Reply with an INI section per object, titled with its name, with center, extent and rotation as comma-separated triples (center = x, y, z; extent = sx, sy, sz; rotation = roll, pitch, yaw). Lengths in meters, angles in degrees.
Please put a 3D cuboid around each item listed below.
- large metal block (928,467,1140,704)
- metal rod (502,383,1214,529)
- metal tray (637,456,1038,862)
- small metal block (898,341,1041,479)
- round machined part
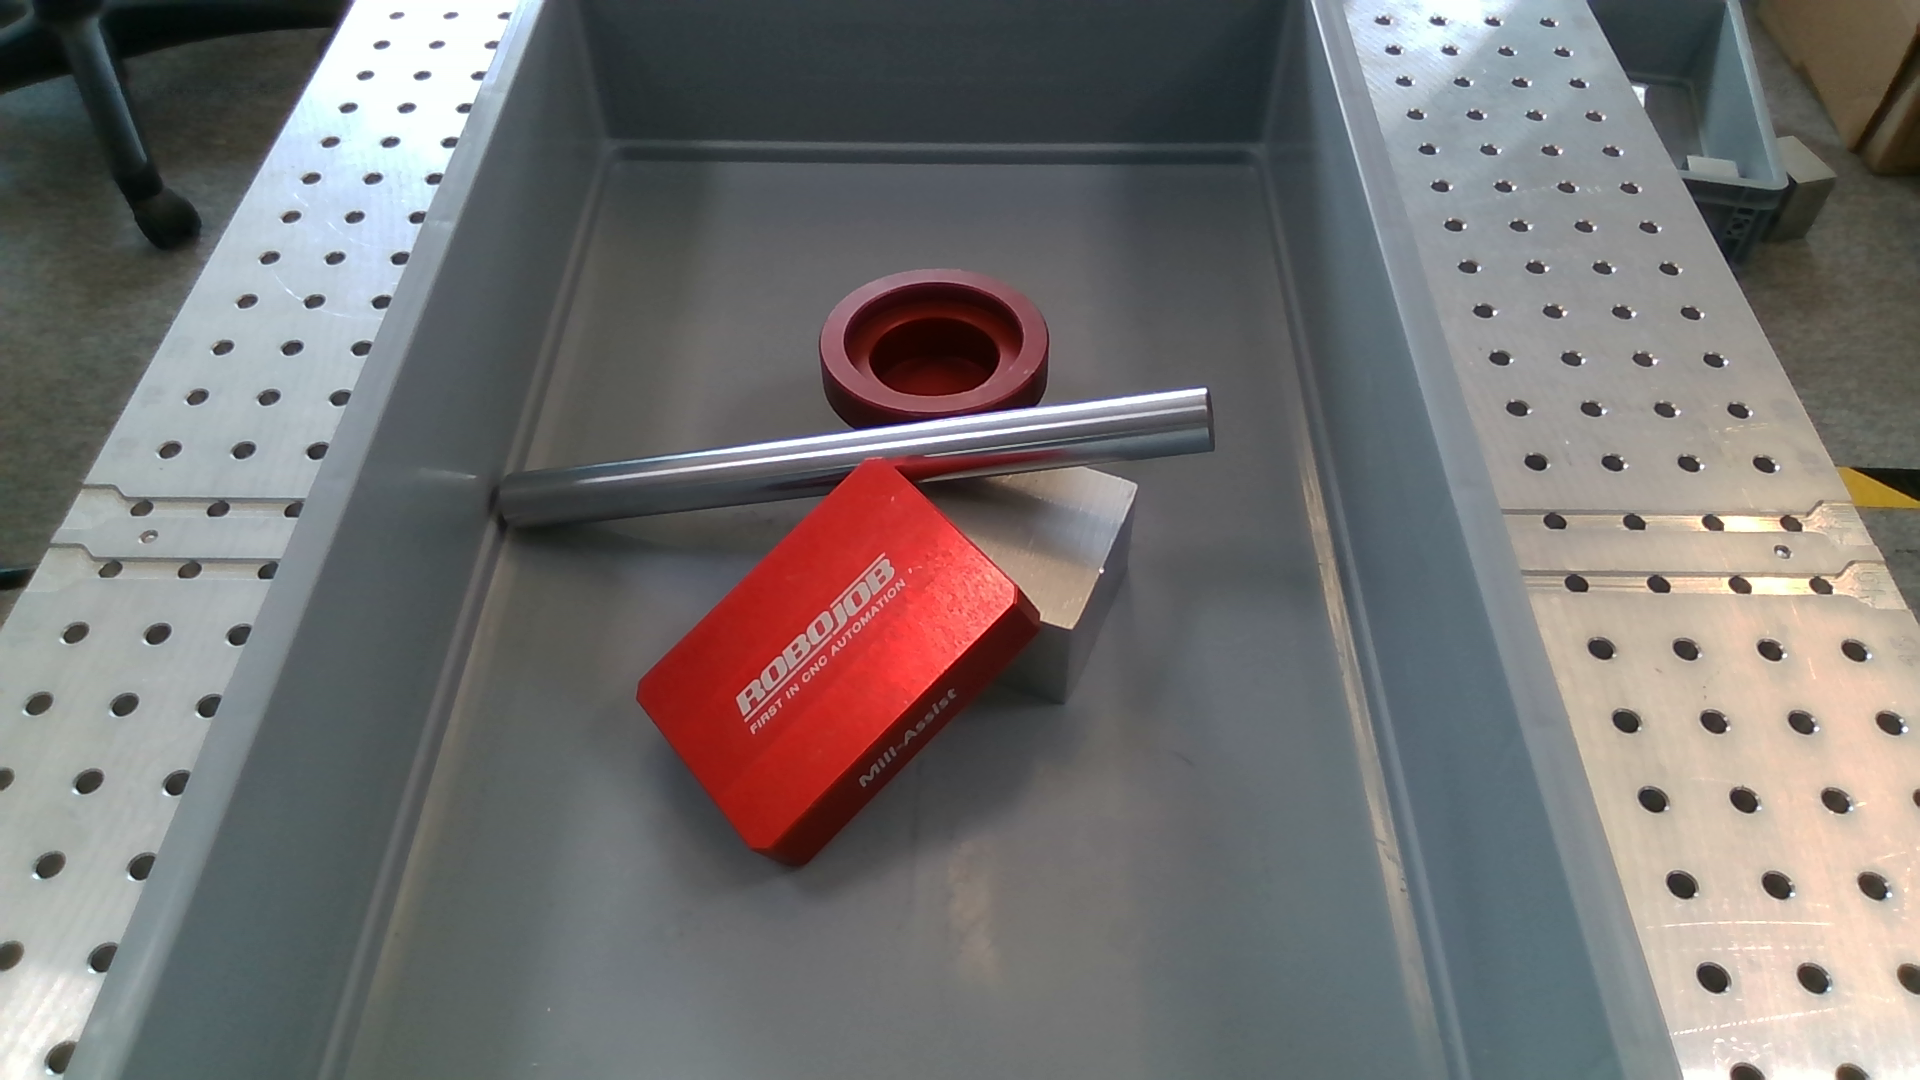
[large metal block]
center = 0.021, 0.009, 0.563
extent = 0.080, 0.050, 0.080
rotation = 18, 52, 14
[metal rod]
center = -0.049, -0.032, 0.560
extent = 0.300, 0.025, 0.025
rotation = -6, 48, 16
[metal tray]
center = -0.046, 0.043, 0.514
extent = 0.130, 0.030, 0.090
rotation = -45, 59, -2
[small metal block]
center = 0.004, -0.061, 0.637
extent = 0.050, 0.025, 0.050
rotation = -18, 52, -14
[round machined part]
center = -0.011, -0.073, 0.600
extent = 0.098, 0.042, 0.098
rotation = 0, 47, 0
